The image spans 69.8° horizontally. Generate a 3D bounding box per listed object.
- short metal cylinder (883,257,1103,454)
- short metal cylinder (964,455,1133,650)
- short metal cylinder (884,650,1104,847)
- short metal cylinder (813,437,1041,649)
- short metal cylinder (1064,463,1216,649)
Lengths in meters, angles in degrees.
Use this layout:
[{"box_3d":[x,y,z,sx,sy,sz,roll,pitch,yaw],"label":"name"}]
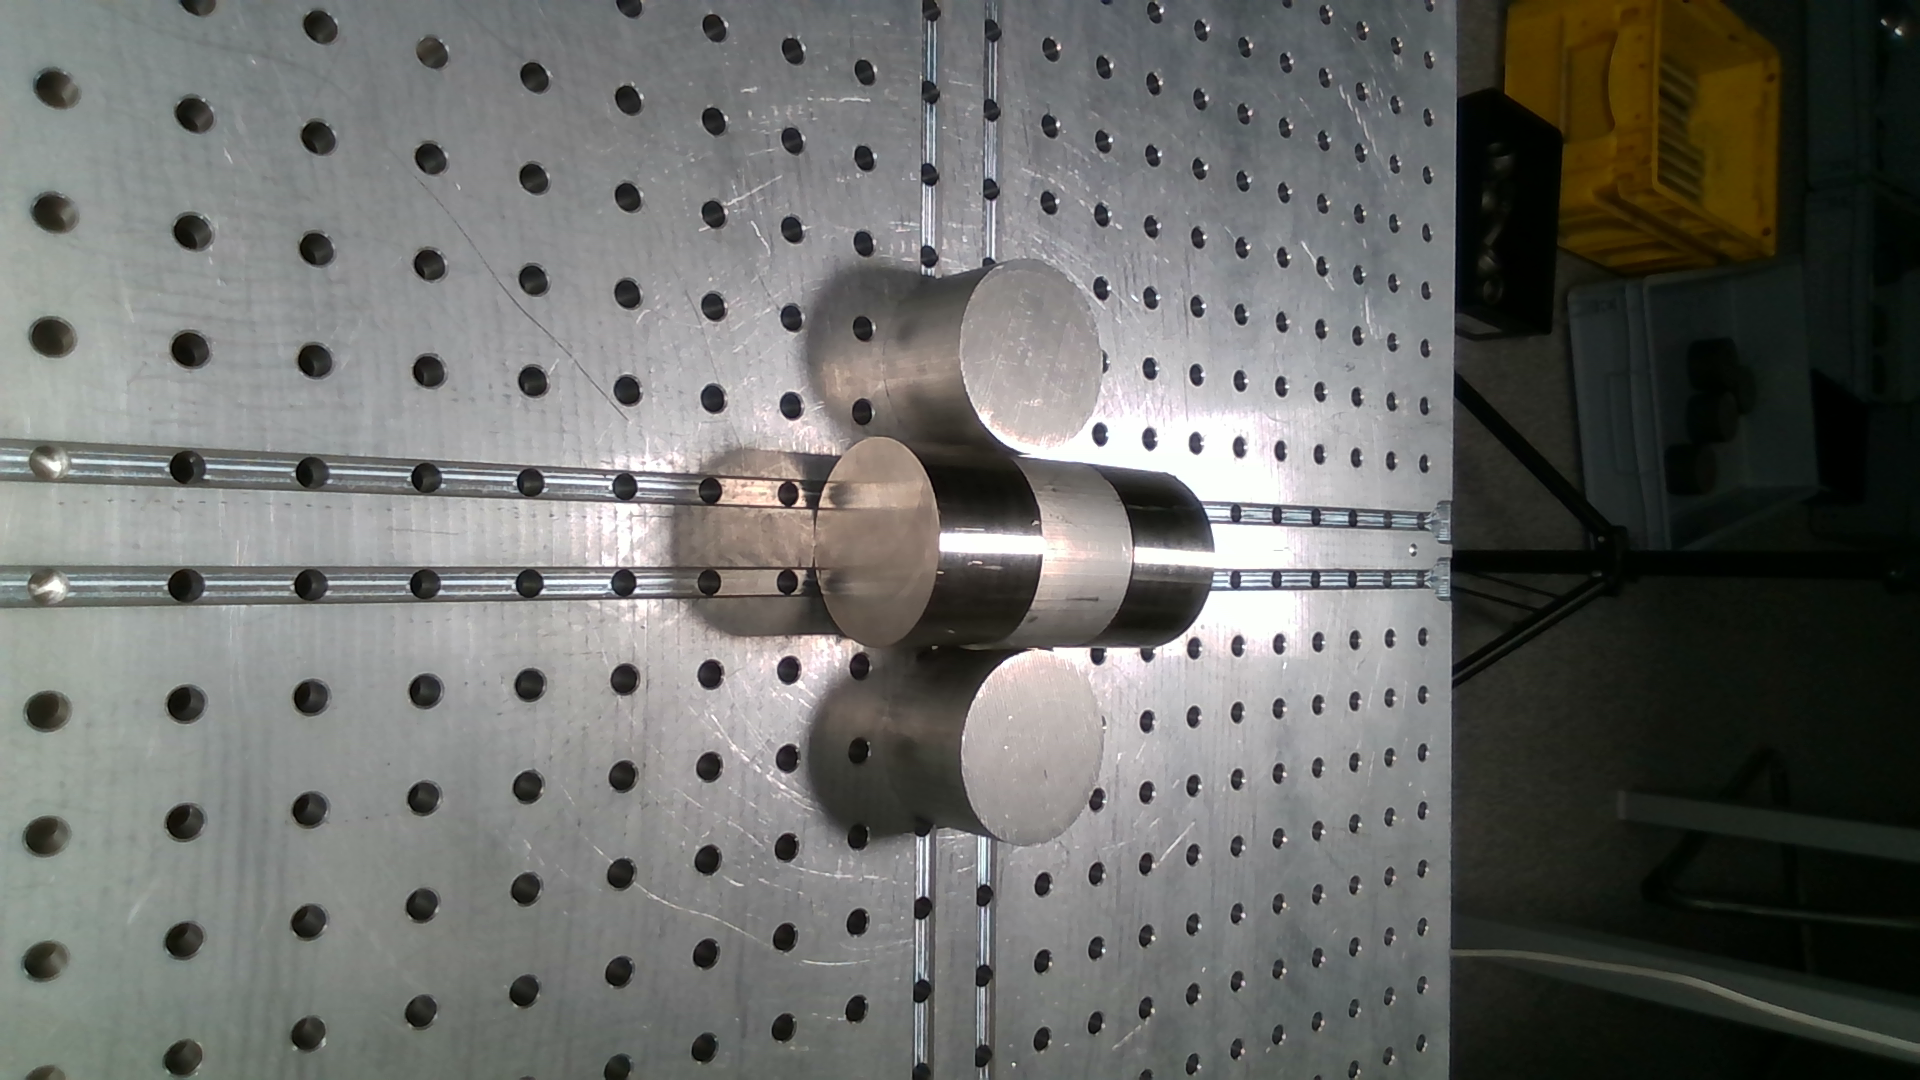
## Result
[{"box_3d":[0.015,-0.075,0.581,0.080,0.050,0.080,0,90,-40],"label":"short metal cylinder"},{"box_3d":[0.025,0.005,0.571,0.050,0.080,0.080,2,88,-40],"label":"short metal cylinder"},{"box_3d":[0.015,0.085,0.582,0.080,0.050,0.080,0,90,-40],"label":"short metal cylinder"},{"box_3d":[-0.014,0.002,0.538,0.050,0.080,0.080,1,89,-40],"label":"short metal cylinder"},{"box_3d":[0.065,0.007,0.604,0.050,0.080,0.080,3,88,-40],"label":"short metal cylinder"}]
